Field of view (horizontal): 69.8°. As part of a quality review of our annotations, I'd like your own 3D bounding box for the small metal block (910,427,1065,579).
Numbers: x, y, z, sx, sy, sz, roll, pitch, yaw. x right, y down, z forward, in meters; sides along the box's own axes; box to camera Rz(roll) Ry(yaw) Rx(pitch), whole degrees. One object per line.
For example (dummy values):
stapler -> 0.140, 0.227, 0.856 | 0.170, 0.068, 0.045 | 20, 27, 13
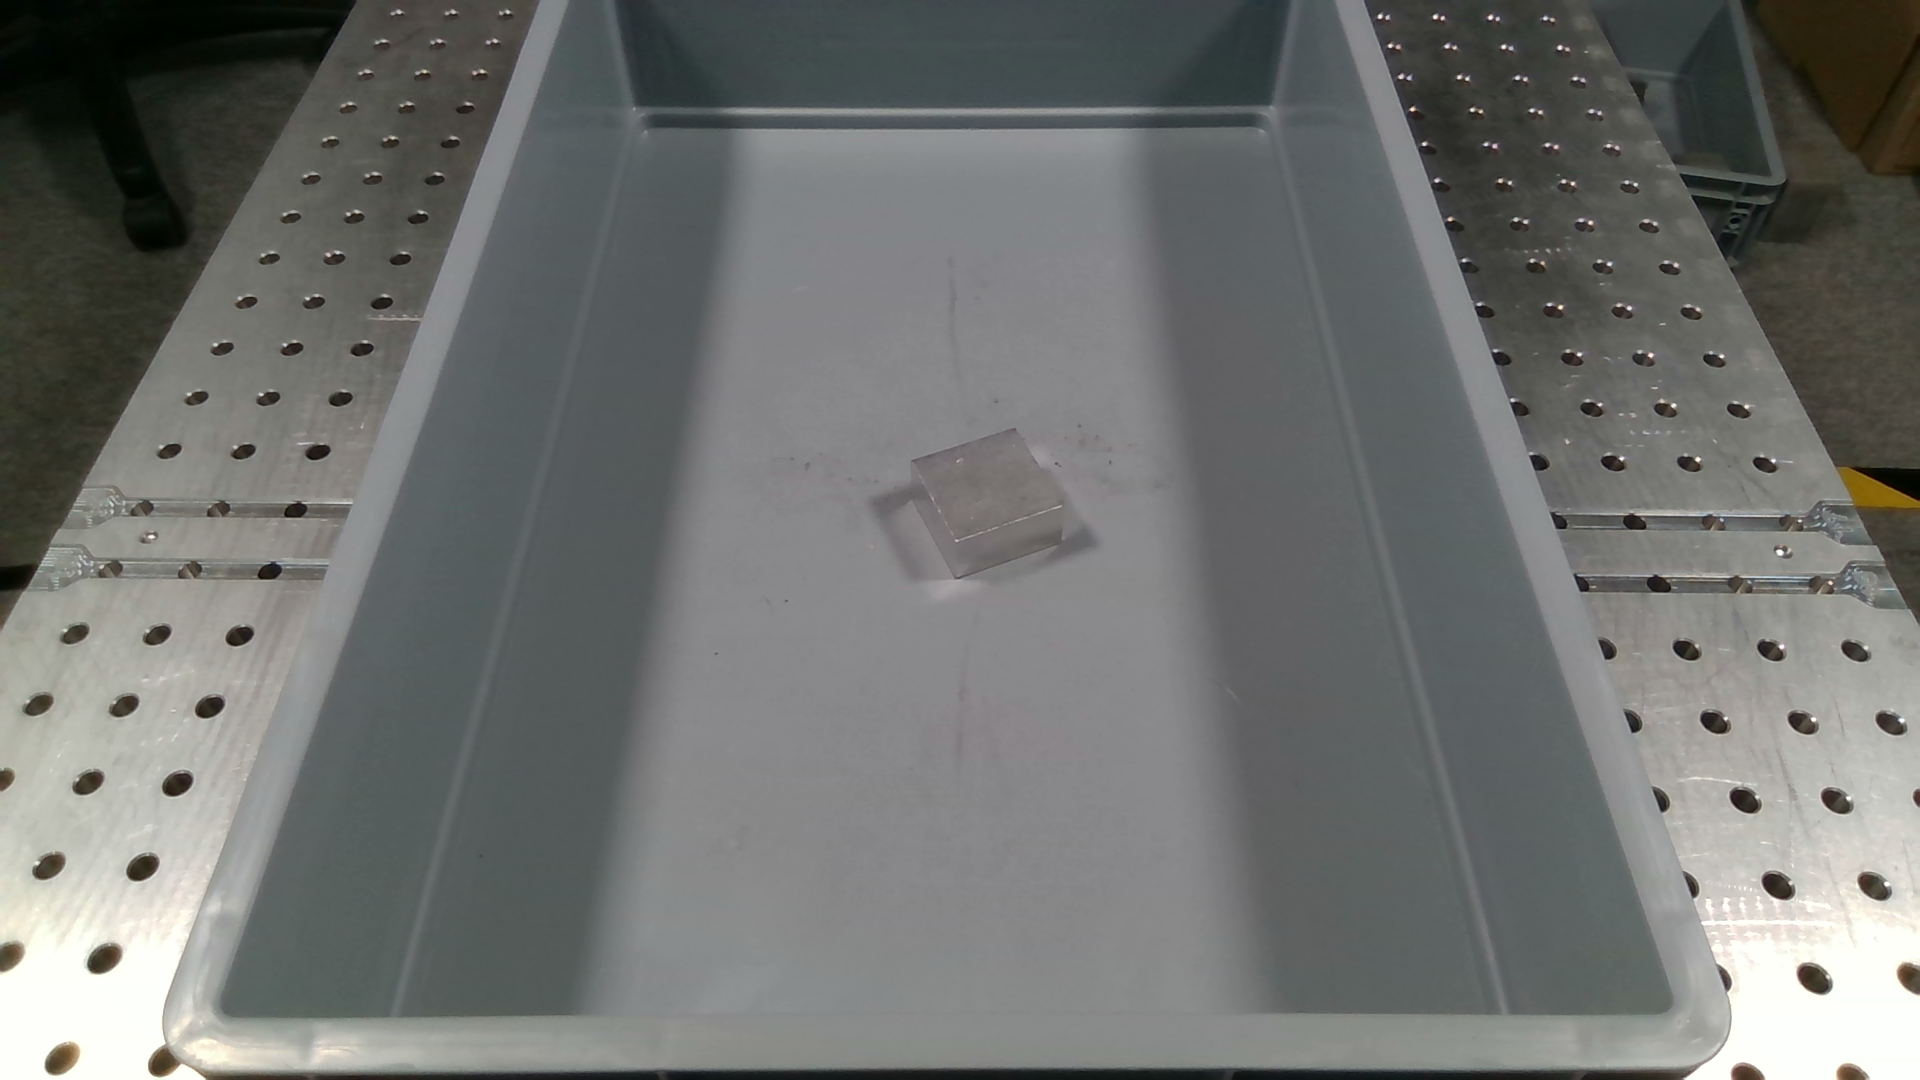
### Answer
small metal block -> 0.011, -0.017, 0.597 | 0.050, 0.025, 0.050 | -18, 53, -15
